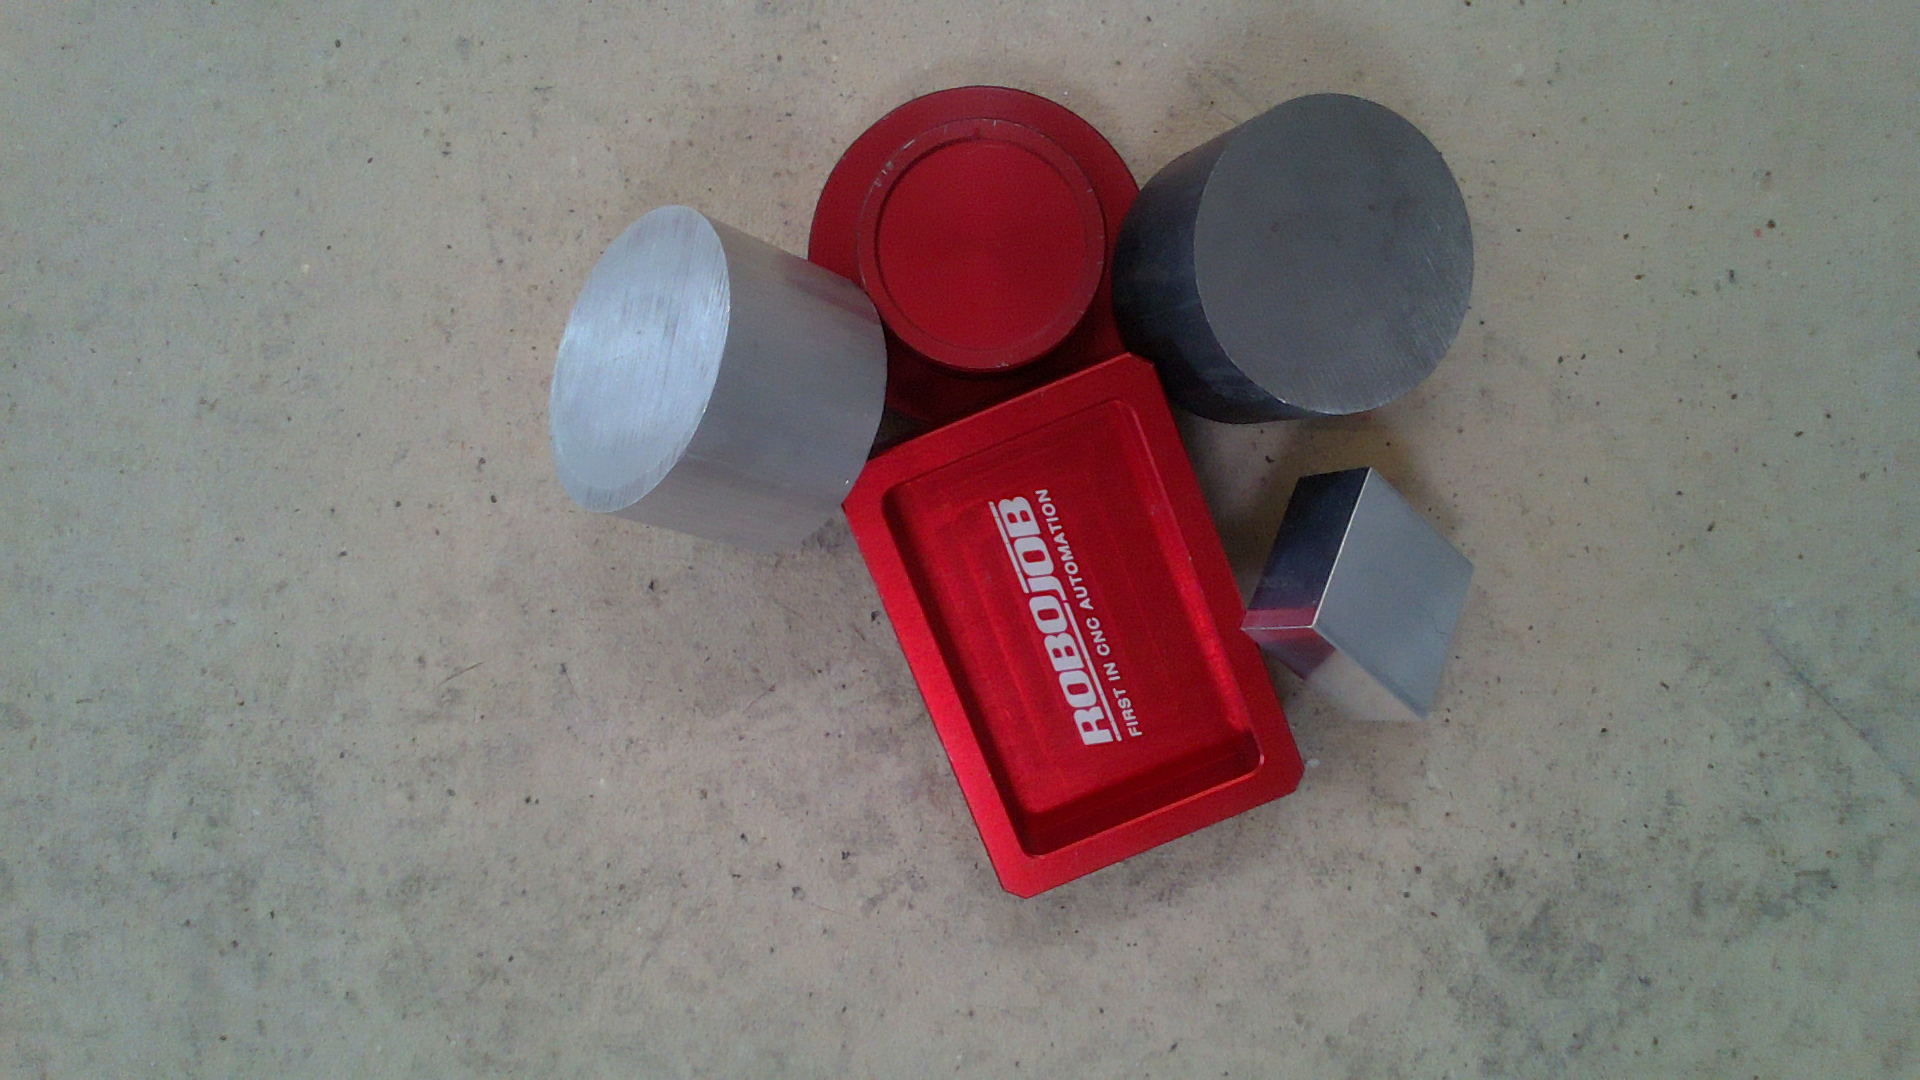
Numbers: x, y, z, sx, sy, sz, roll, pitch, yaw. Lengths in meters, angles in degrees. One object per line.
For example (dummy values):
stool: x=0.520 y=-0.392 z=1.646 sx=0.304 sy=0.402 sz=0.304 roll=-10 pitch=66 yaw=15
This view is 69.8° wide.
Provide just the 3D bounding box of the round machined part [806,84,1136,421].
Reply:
round machined part: x=0.005 y=-0.080 z=0.387 sx=0.098 sy=0.042 sz=0.098 roll=0 pitch=90 yaw=0

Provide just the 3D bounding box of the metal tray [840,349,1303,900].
metal tray: x=0.030 y=0.023 z=0.382 sx=0.090 sy=0.030 sz=0.130 roll=-22 pitch=100 yaw=0

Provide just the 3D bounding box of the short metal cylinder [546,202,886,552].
short metal cylinder: x=-0.065 y=-0.041 z=0.361 sx=0.050 sy=0.080 sz=0.080 roll=16 pitch=90 yaw=-44

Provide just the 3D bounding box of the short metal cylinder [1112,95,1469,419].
short metal cylinder: x=0.088 y=-0.073 z=0.373 sx=0.080 sy=0.050 sz=0.080 roll=-1 pitch=92 yaw=-18

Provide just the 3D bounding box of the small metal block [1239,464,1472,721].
small metal block: x=0.110 y=0.015 z=0.378 sx=0.050 sy=0.025 sz=0.050 roll=38 pitch=65 yaw=-26
